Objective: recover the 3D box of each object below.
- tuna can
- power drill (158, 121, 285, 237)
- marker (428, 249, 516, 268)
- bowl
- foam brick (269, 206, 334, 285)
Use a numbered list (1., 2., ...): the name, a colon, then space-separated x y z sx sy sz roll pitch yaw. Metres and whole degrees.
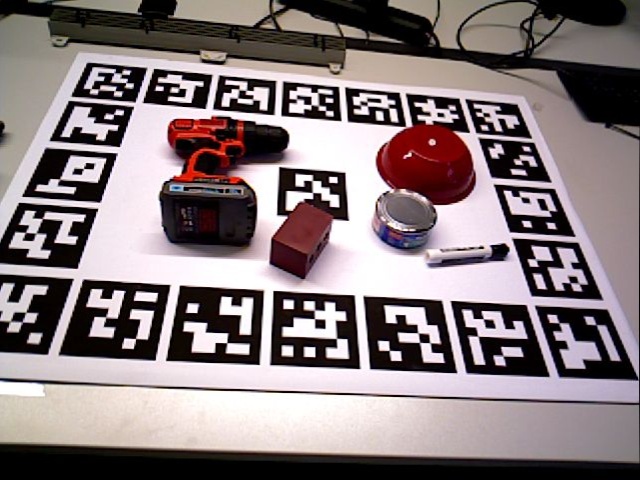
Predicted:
1. tuna can: 0.118 -0.026 0.735 0.085 0.034 0.084 6 50 -8
2. power drill: -0.138 -0.090 0.738 0.183 0.059 0.184 6 47 -9
3. marker: 0.202 0.024 0.715 0.120 0.020 0.019 -3 52 -12
4. bowl: 0.165 -0.120 0.821 0.161 0.056 0.159 3 43 -3
5. foam brick: -0.023 0.007 0.682 0.051 0.054 0.076 24 52 9
